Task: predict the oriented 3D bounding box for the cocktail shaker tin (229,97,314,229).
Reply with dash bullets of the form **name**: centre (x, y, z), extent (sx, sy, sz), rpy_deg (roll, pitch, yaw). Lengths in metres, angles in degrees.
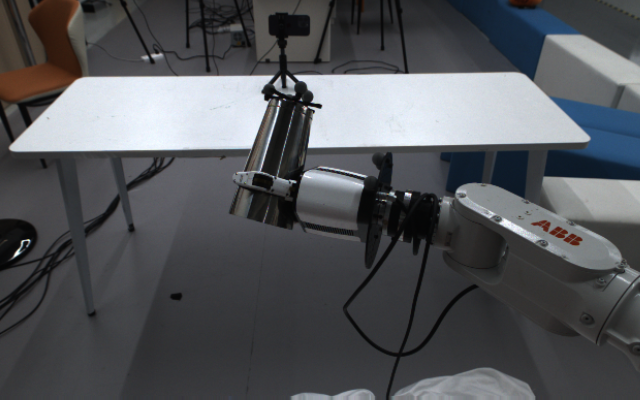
- **cocktail shaker tin**: centre (-0.063, -0.051, 0.684), extent (0.093, 0.170, 0.093), rpy_deg (15, -4, 1)
